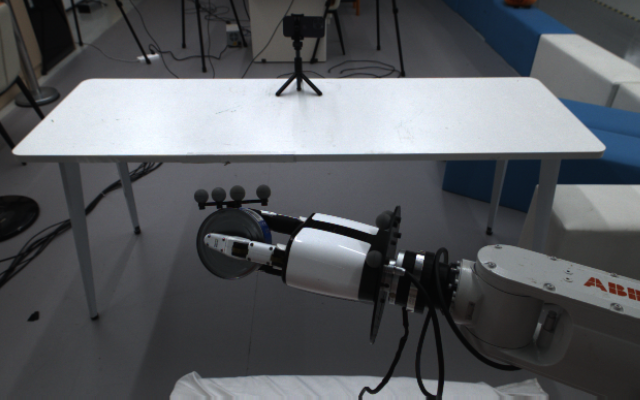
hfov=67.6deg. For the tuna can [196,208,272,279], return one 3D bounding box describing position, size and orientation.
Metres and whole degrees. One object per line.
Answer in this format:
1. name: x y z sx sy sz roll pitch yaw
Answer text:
1. tuna can: -0.100 0.056 0.582 0.085 0.085 0.034 10 3 11
